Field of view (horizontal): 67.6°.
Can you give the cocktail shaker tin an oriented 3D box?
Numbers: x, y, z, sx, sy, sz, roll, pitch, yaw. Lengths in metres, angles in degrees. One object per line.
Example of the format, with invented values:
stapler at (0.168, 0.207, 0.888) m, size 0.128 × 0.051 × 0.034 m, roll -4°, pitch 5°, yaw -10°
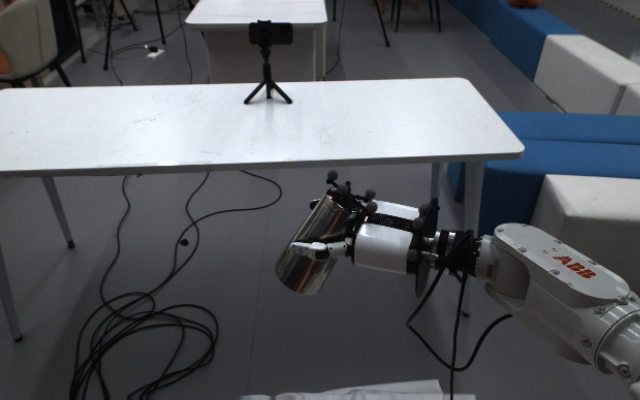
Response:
cocktail shaker tin at (0.002, 0.061, 0.802) m, size 0.093 × 0.170 × 0.093 m, roll 25°, pitch 29°, yaw -15°
